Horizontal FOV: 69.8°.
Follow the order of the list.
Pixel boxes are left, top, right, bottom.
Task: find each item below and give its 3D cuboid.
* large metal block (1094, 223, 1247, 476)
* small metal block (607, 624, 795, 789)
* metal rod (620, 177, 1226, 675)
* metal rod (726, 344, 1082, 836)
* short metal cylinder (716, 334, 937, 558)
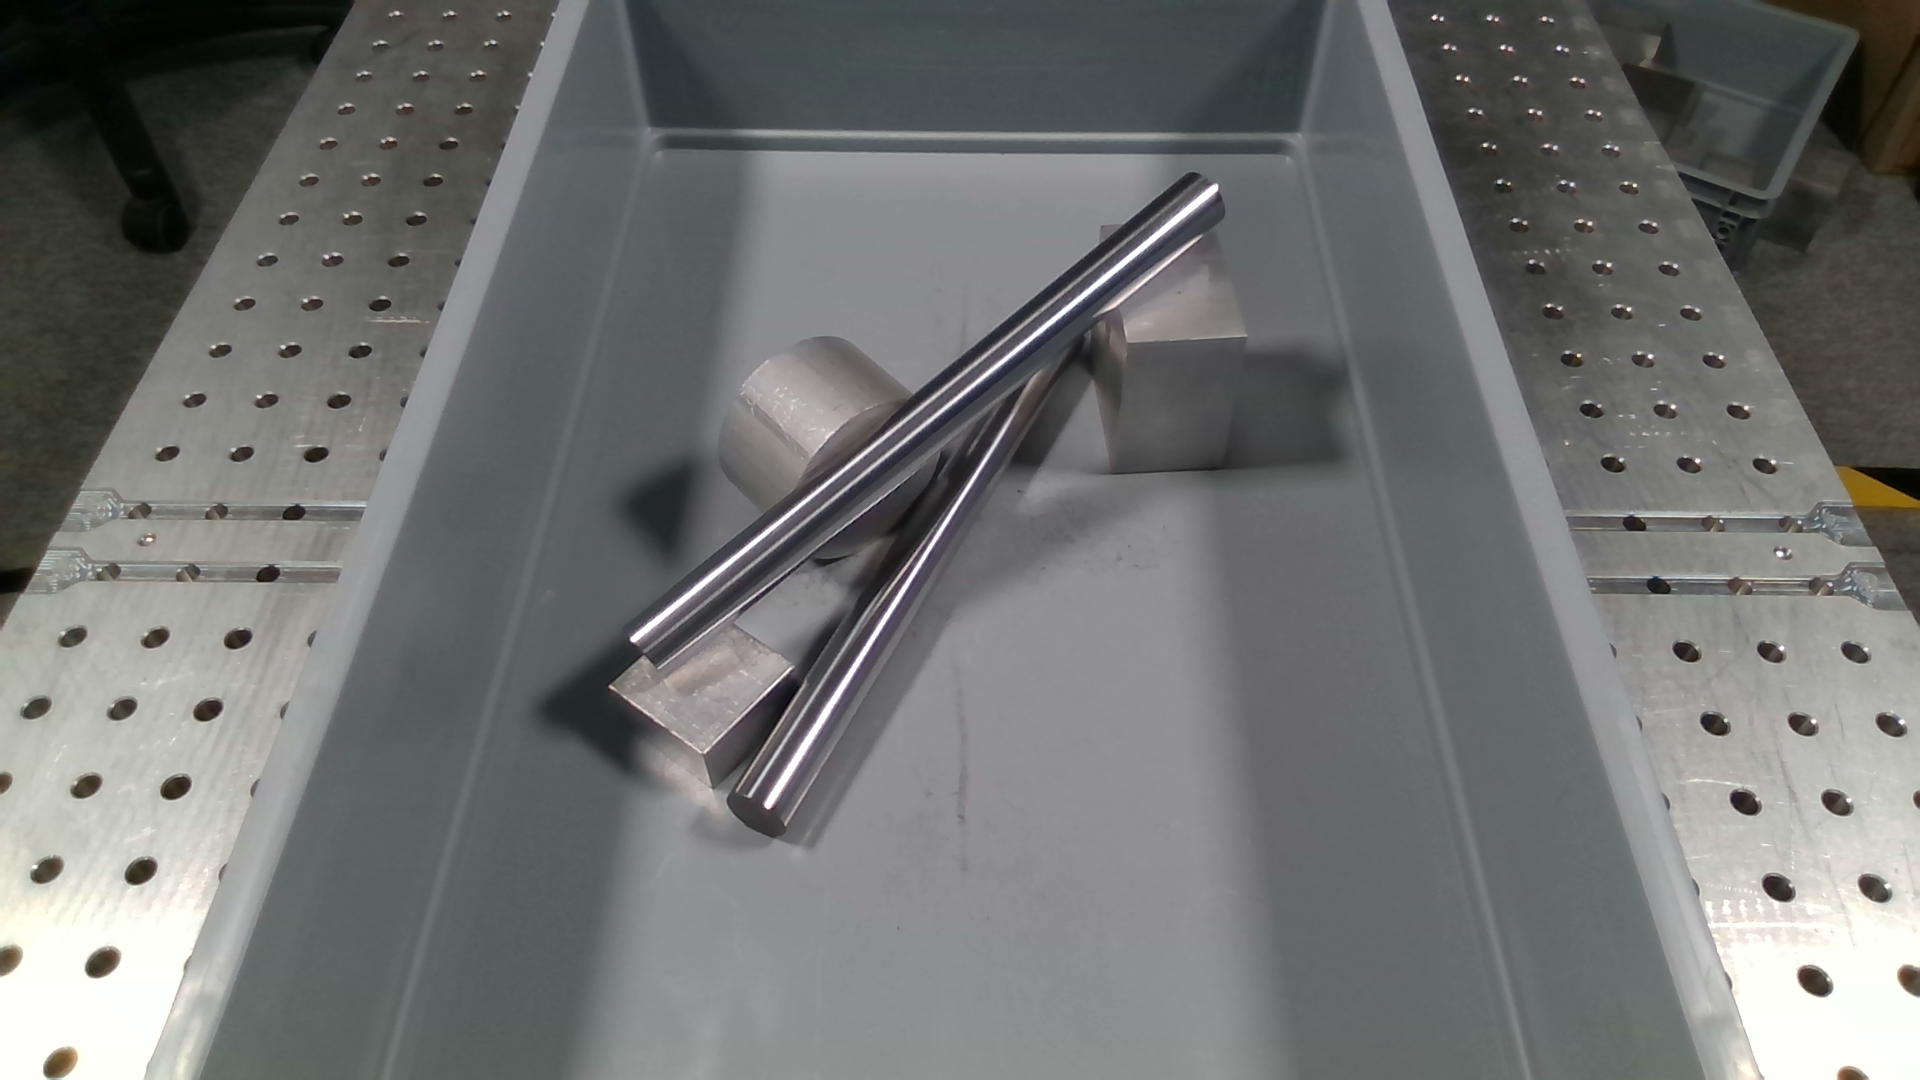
[{"bbox_3d":[0.091,-0.087,0.623,0.050,0.080,0.080,-3,50,-2],"label":"large metal block"},{"bbox_3d":[-0.099,0.060,0.536,0.050,0.025,0.050,31,57,23],"label":"small metal block"},{"bbox_3d":[-0.008,-0.052,0.553,0.300,0.025,0.025,-40,60,-14],"label":"metal rod"},{"bbox_3d":[-0.011,-0.004,0.589,0.025,0.025,0.299,20,53,16],"label":"metal rod"},{"bbox_3d":[-0.055,-0.039,0.582,0.080,0.080,0.050,-33,57,-24],"label":"short metal cylinder"}]
